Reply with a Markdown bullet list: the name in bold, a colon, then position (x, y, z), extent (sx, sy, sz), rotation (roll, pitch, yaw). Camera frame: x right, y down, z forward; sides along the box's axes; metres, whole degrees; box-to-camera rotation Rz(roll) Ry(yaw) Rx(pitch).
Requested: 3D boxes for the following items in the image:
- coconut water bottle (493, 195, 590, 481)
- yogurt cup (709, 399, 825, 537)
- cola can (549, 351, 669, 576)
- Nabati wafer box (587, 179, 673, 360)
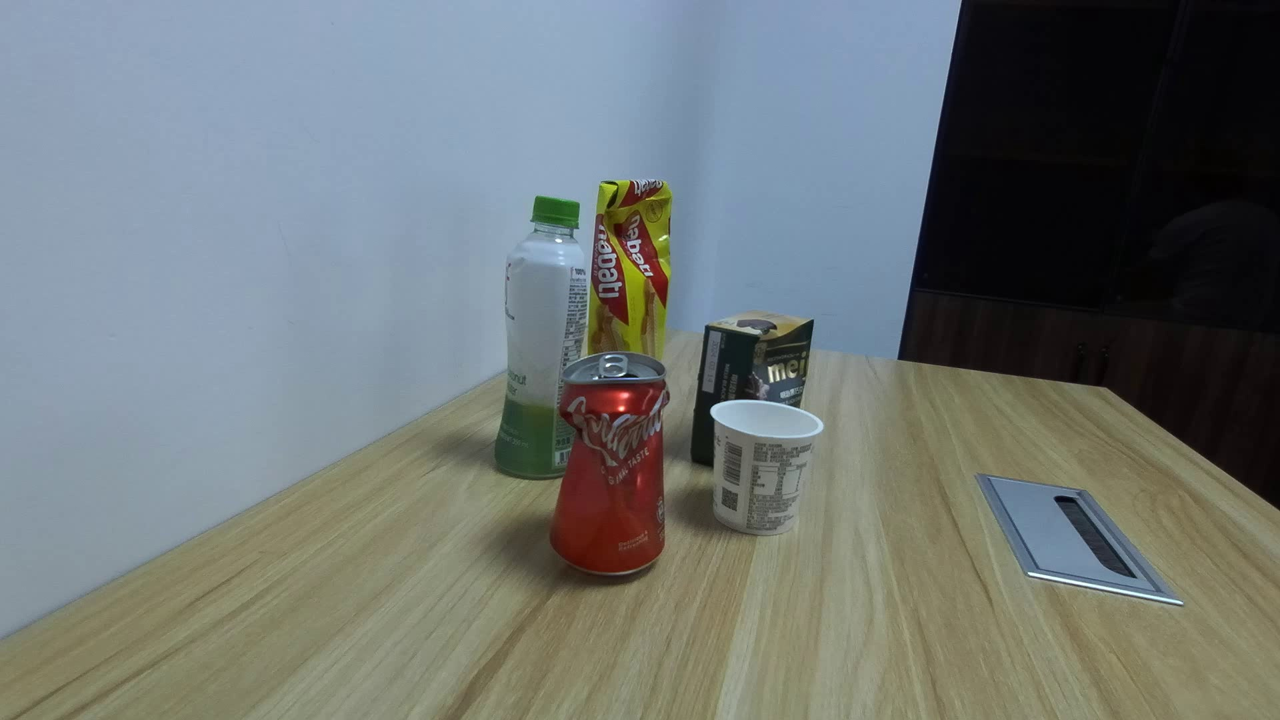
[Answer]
- **coconut water bottle**: position (-0.066, -0.017, 0.493), extent (0.069, 0.187, 0.069), rotation (4, 13, -1)
- **yogurt cup**: position (0.076, 0.068, 0.448), extent (0.072, 0.068, 0.072), rotation (4, 15, -1)
- **cola can**: position (-0.014, 0.055, 0.386), extent (0.065, 0.112, 0.069), rotation (16, 18, 35)
- **Nabati wafer box**: position (-0.007, -0.051, 0.616), extent (0.042, 0.205, 0.113), rotation (8, 16, 17)
